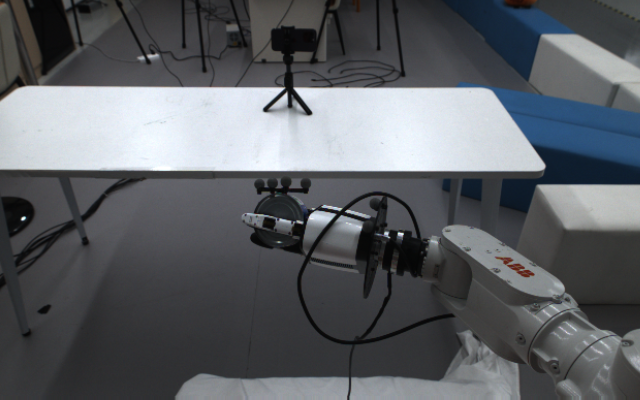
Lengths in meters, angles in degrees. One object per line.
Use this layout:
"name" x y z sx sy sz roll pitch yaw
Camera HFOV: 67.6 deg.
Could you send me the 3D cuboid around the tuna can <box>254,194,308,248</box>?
"tuna can" -0.061 0.033 0.771 0.085 0.085 0.034 15 1 18
